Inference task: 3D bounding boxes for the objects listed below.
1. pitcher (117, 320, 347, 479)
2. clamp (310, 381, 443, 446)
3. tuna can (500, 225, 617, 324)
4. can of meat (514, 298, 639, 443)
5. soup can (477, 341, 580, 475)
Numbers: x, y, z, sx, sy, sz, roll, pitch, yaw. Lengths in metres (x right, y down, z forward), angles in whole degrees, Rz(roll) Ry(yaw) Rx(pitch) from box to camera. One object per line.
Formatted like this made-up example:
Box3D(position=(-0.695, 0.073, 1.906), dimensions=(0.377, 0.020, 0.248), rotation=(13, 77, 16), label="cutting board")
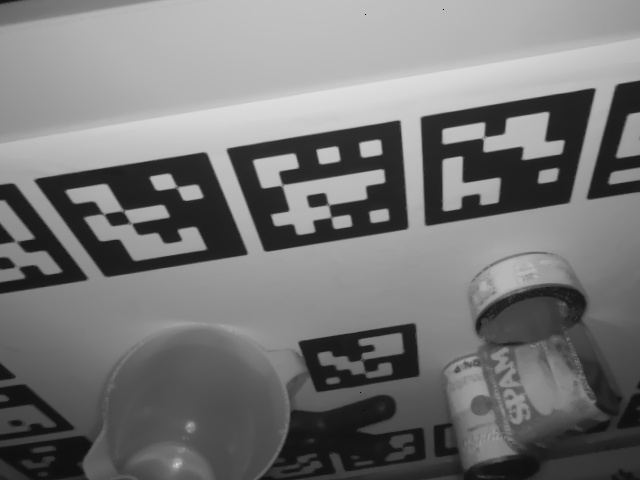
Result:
Box3D(position=(-0.082, 0.181, 0.609), dimensions=(0.191, 0.133, 0.239), rotation=(-13, 149, -25), label="pitcher")
Box3D(position=(0.045, 0.189, 0.724), dimensions=(0.165, 0.037, 0.121), rotation=(-6, 142, 5), label="clamp")
Box3D(position=(0.189, 0.028, 0.555), dimensions=(0.086, 0.034, 0.085), rotation=(-4, 136, -3), label="tuna can")
Box3D(position=(0.224, 0.105, 0.588), dimensions=(0.058, 0.102, 0.082), rotation=(32, 122, -32), label="can of meat")
Box3D(position=(0.191, 0.154, 0.644), dimensions=(0.068, 0.102, 0.067), rotation=(-5, 135, -4), label="soup can")
